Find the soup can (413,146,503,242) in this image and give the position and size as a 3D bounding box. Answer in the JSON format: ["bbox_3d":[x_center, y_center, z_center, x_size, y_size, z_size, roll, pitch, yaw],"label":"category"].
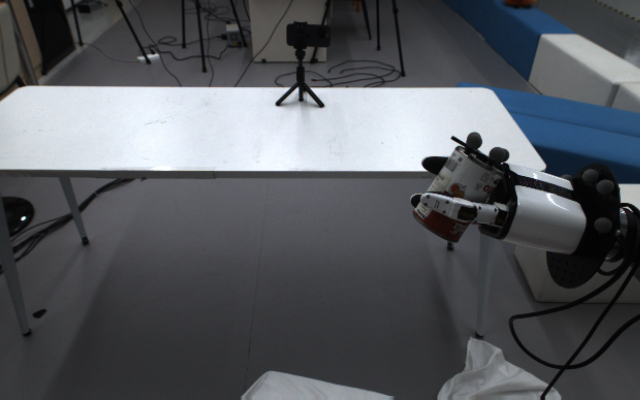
[{"bbox_3d":[0.172,-0.008,0.601,0.067,0.101,0.067,27,18,-9],"label":"soup can"}]
